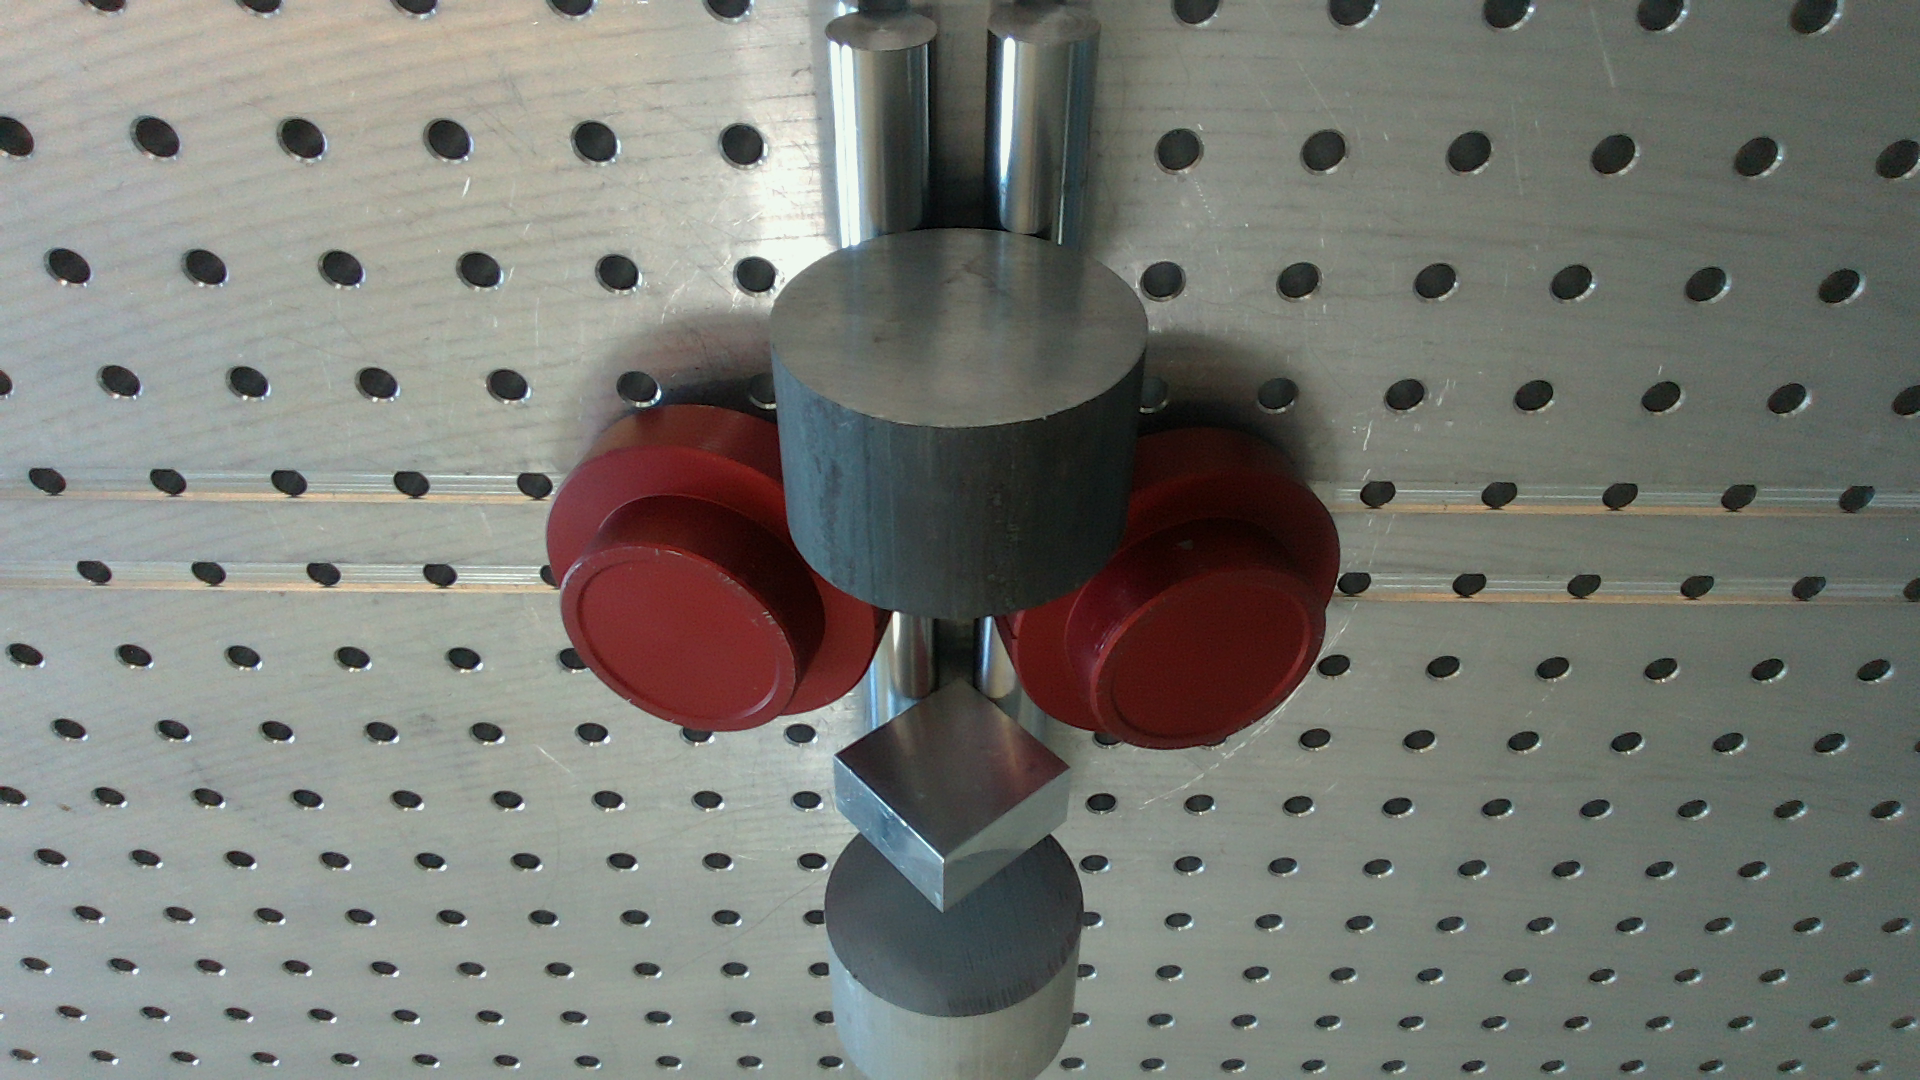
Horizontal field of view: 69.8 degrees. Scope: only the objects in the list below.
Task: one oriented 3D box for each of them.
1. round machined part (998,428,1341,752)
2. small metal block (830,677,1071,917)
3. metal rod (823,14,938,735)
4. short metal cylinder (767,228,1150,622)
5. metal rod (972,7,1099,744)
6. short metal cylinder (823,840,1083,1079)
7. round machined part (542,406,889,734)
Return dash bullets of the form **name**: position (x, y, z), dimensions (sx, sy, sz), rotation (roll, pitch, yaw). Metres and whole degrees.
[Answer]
- **round machined part**: position (0.061, 0.021, 0.383), dimensions (0.098, 0.042, 0.098), rotation (-10, 131, -11)
- **small metal block**: position (-0.003, 0.075, 0.410), dimensions (0.050, 0.050, 0.025), rotation (-29, 139, -31)
- **metal rod**: position (-0.019, 0.004, 0.396), dimensions (0.025, 0.025, 0.300), rotation (0, 130, 0)
- **short metal cylinder**: position (0.000, -0.028, 0.305), dimensions (0.080, 0.080, 0.050), rotation (1, 130, -1)
- **metal rod**: position (0.016, 0.003, 0.395), dimensions (0.025, 0.025, 0.300), rotation (0, 130, 0)
- **short metal cylinder**: position (-0.002, 0.130, 0.439), dimensions (0.080, 0.080, 0.050), rotation (1, 130, -1)
- **round machined part**: position (-0.070, 0.015, 0.379), dimensions (0.098, 0.042, 0.098), rotation (9, 131, 11)
